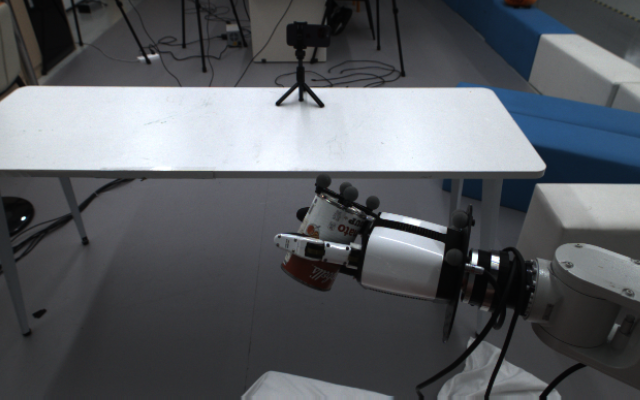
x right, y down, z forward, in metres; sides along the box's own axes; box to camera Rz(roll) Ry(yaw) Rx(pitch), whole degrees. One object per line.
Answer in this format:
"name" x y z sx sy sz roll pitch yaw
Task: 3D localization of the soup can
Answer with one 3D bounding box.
"soup can" 0.006 0.050 0.579 0.067 0.101 0.067 26 5 -3
